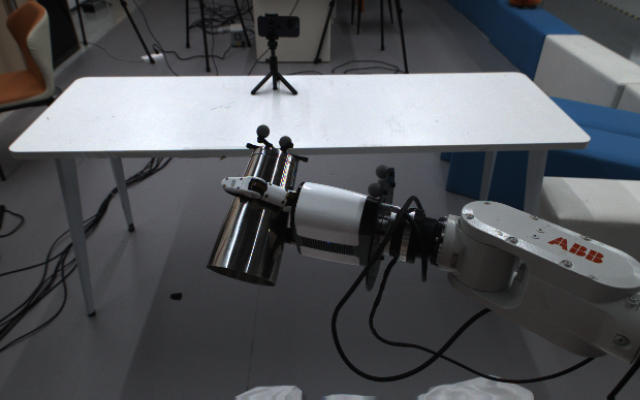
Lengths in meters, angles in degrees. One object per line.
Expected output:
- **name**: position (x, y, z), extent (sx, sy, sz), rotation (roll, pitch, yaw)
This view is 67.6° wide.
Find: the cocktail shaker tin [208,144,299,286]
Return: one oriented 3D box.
- **cocktail shaker tin**: position (-0.081, 0.020, 0.643), extent (0.093, 0.093, 0.170), rotation (10, 71, 12)
